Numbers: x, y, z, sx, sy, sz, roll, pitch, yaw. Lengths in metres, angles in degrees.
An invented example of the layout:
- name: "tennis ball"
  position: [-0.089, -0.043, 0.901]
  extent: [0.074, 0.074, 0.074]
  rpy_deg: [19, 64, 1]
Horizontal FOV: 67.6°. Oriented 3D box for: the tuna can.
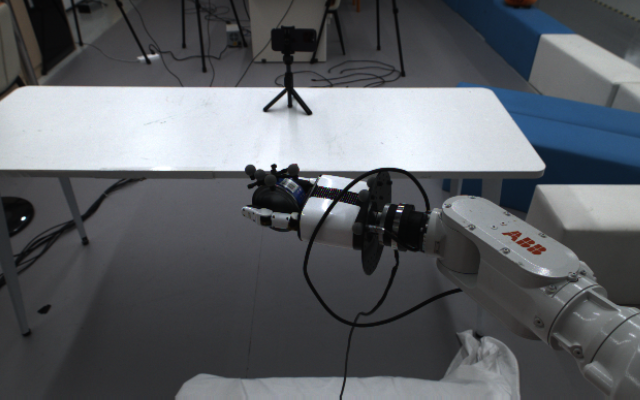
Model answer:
- name: "tuna can"
  position: [-0.060, 0.005, 0.761]
  extent: [0.085, 0.085, 0.034]
  rpy_deg: [17, 36, 20]
